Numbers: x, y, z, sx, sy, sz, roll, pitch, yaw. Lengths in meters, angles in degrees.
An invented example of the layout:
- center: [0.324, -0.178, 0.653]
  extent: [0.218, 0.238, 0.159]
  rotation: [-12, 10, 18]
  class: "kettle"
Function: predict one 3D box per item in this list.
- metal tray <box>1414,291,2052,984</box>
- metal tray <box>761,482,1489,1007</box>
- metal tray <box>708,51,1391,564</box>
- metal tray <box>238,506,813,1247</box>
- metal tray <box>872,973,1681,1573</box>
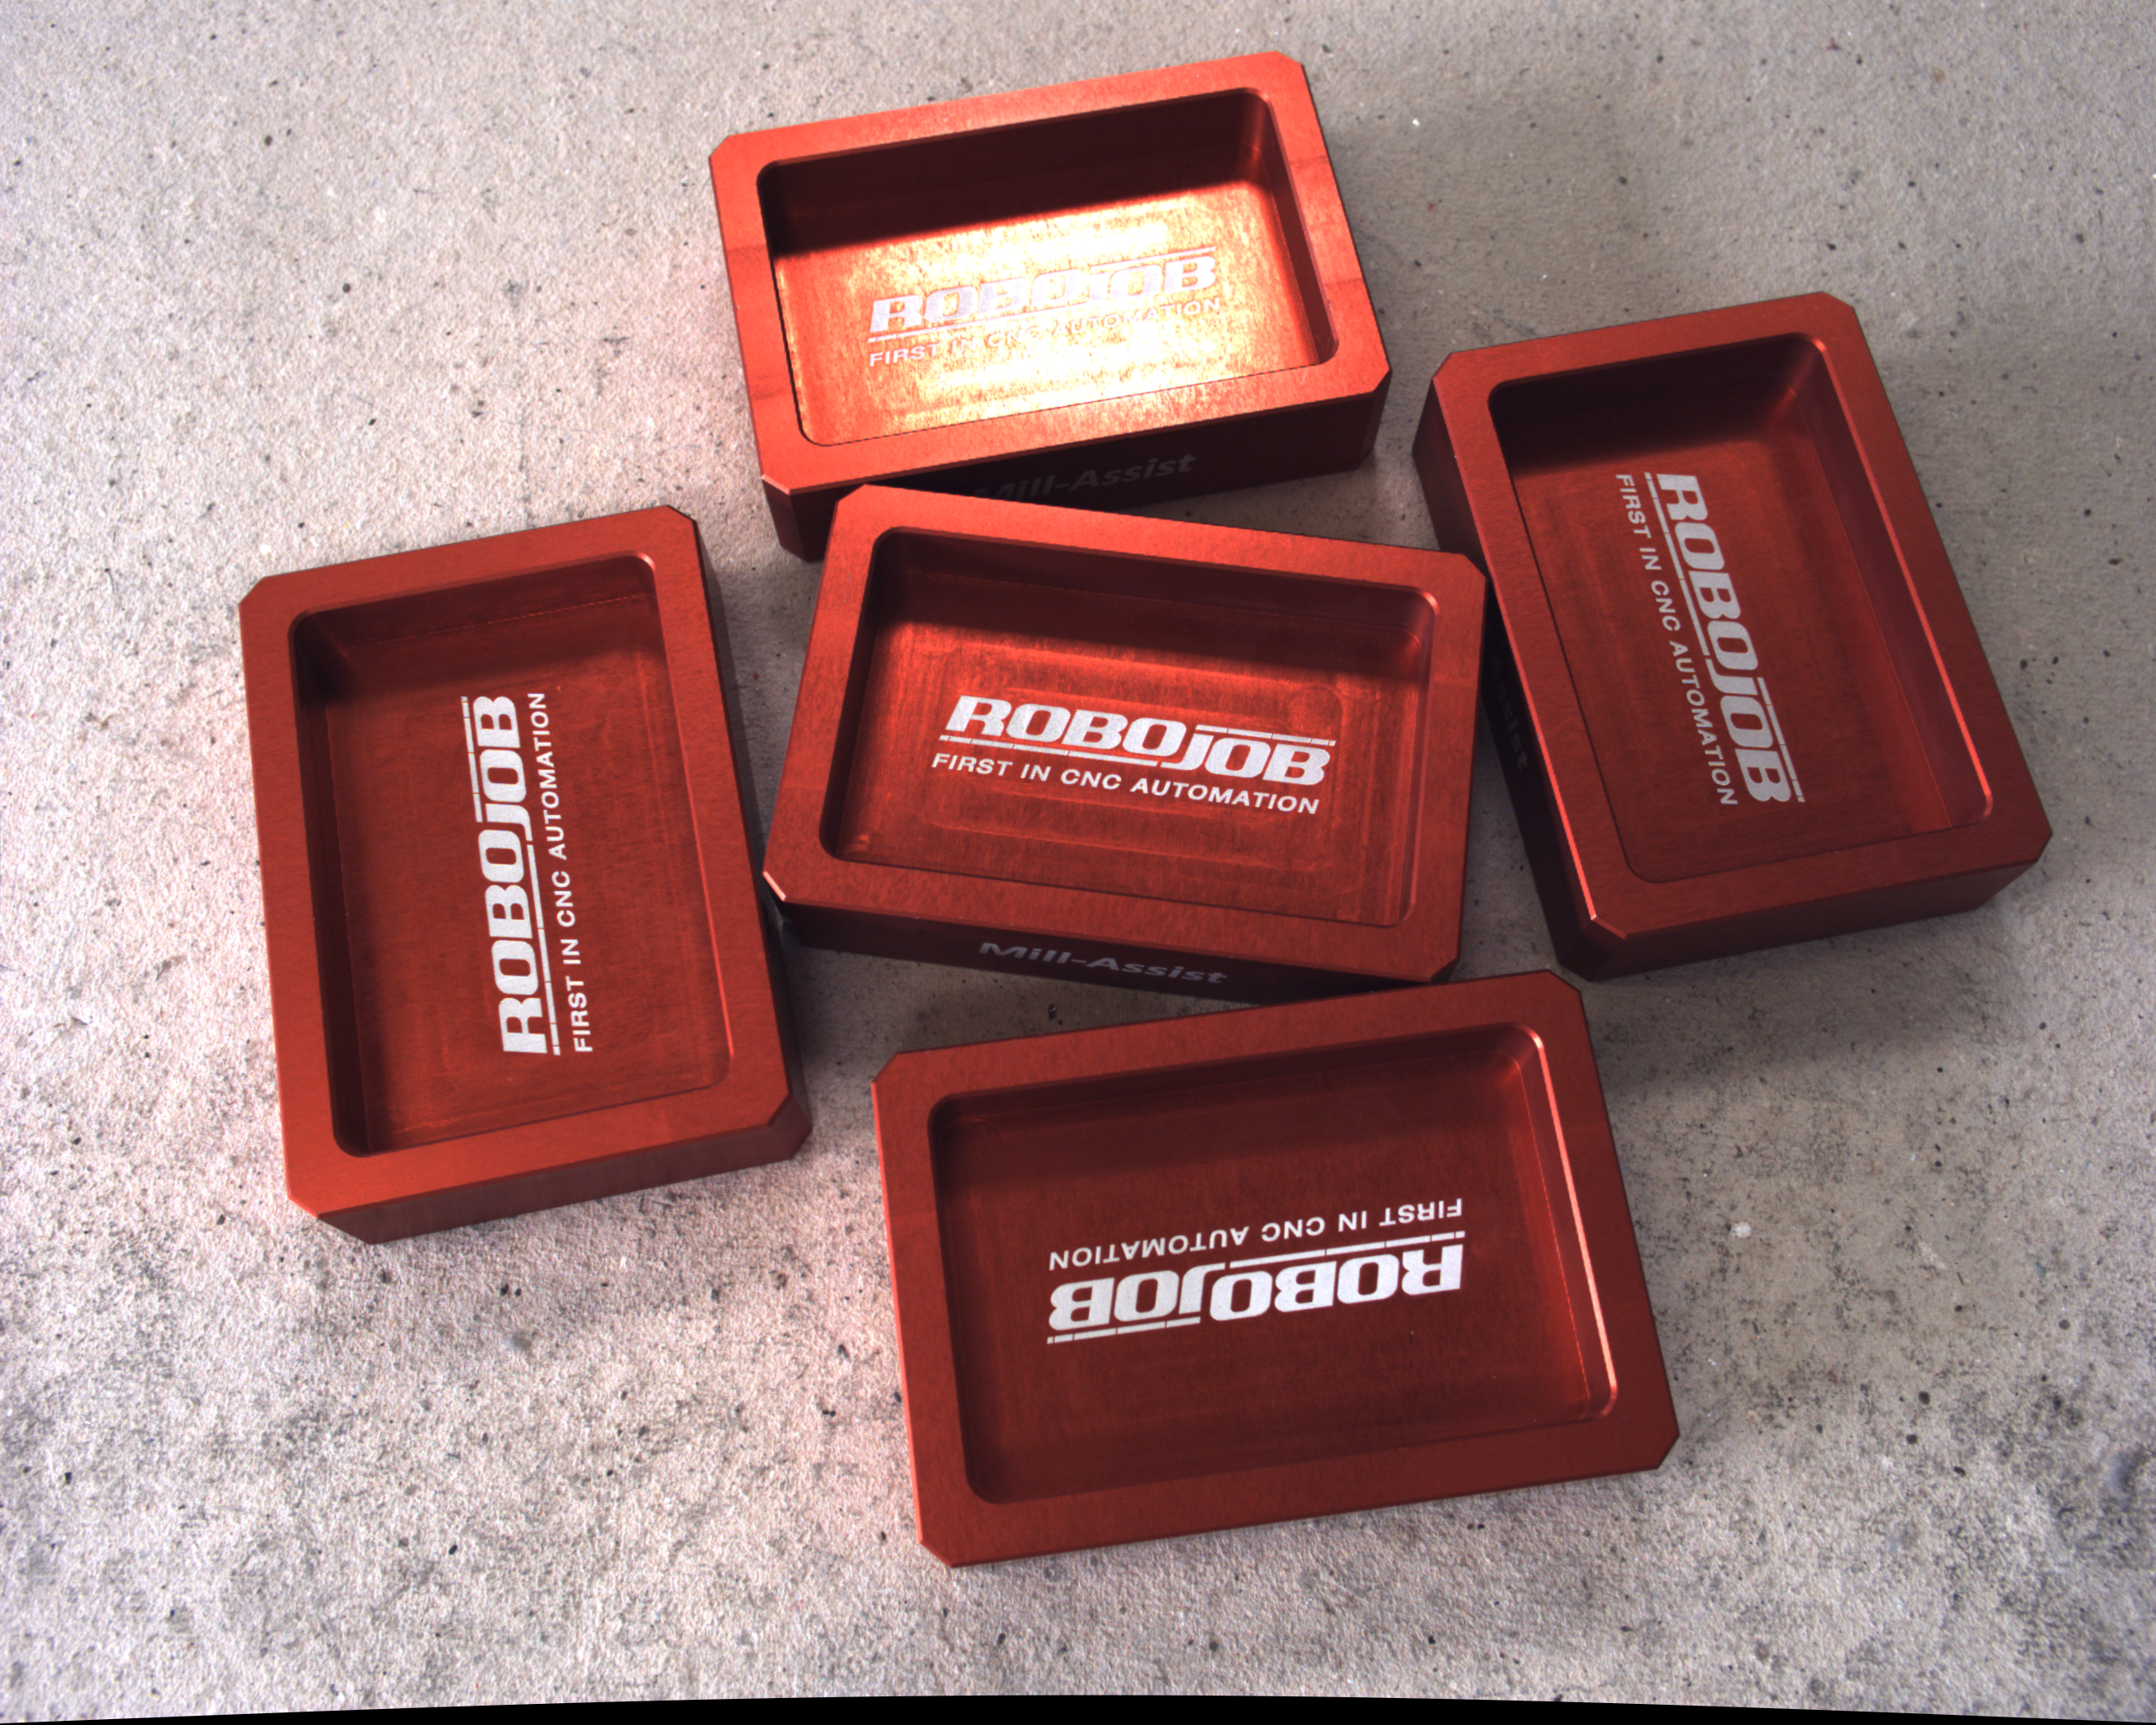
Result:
- center: [0.129, -0.048, 0.425]
  extent: [0.091, 0.030, 0.129]
  rotation: [-10, 71, -3]
  class: "metal tray"
- center: [0.011, -0.023, 0.415]
  extent: [0.131, 0.030, 0.090]
  rotation: [7, 72, 3]
  class: "metal tray"
- center: [-0.007, -0.121, 0.451]
  extent: [0.131, 0.030, 0.090]
  rotation: [-10, 70, -3]
  class: "metal tray"
- center: [-0.108, 0.001, 0.405]
  extent: [0.091, 0.030, 0.130]
  rotation: [-11, 71, -4]
  class: "metal tray"
- center: [0.033, 0.074, 0.379]
  extent: [0.131, 0.030, 0.090]
  rotation: [-7, 70, -3]
  class: "metal tray"
